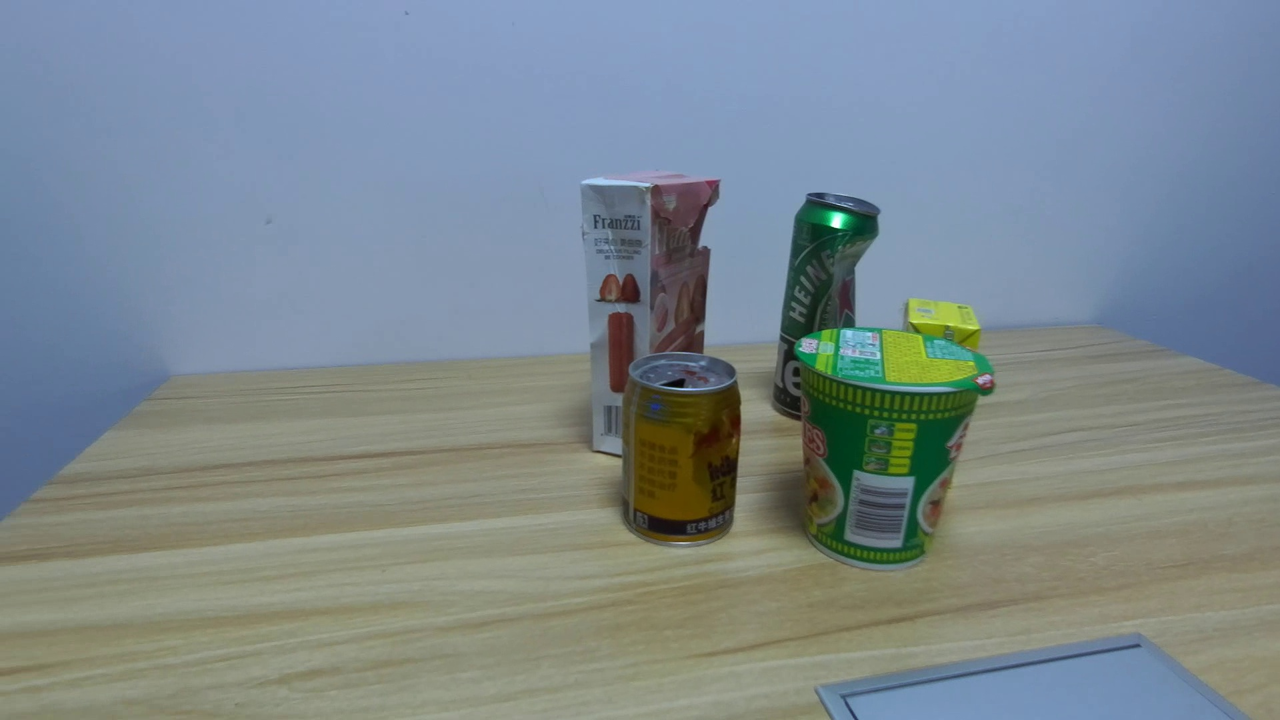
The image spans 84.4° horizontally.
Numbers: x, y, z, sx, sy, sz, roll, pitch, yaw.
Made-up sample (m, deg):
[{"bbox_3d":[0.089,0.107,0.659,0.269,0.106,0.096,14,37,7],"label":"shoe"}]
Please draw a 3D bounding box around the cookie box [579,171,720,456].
[{"bbox_3d":[0.006,-0.034,0.493,0.059,0.105,0.186,13,113,26],"label":"cookie box"}]

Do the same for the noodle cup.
[{"bbox_3d":[0.126,0.048,0.377,0.097,0.097,0.110,7,110,18],"label":"noodle cup"}]

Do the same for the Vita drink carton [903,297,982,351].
[{"bbox_3d":[0.198,0.002,0.477,0.043,0.109,0.076,7,103,19],"label":"Vita drink carton"}]

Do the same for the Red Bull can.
[{"bbox_3d":[0.023,0.048,0.399,0.068,0.068,0.093,7,110,18],"label":"Red Bull can"}]
